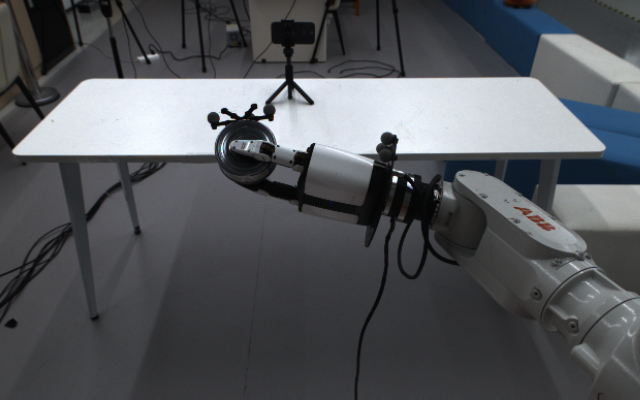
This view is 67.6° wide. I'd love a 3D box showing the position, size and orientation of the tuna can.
[{"bbox_3d":[-0.098,-0.062,0.667,0.085,0.034,0.085,0,72,-1],"label":"tuna can"}]
